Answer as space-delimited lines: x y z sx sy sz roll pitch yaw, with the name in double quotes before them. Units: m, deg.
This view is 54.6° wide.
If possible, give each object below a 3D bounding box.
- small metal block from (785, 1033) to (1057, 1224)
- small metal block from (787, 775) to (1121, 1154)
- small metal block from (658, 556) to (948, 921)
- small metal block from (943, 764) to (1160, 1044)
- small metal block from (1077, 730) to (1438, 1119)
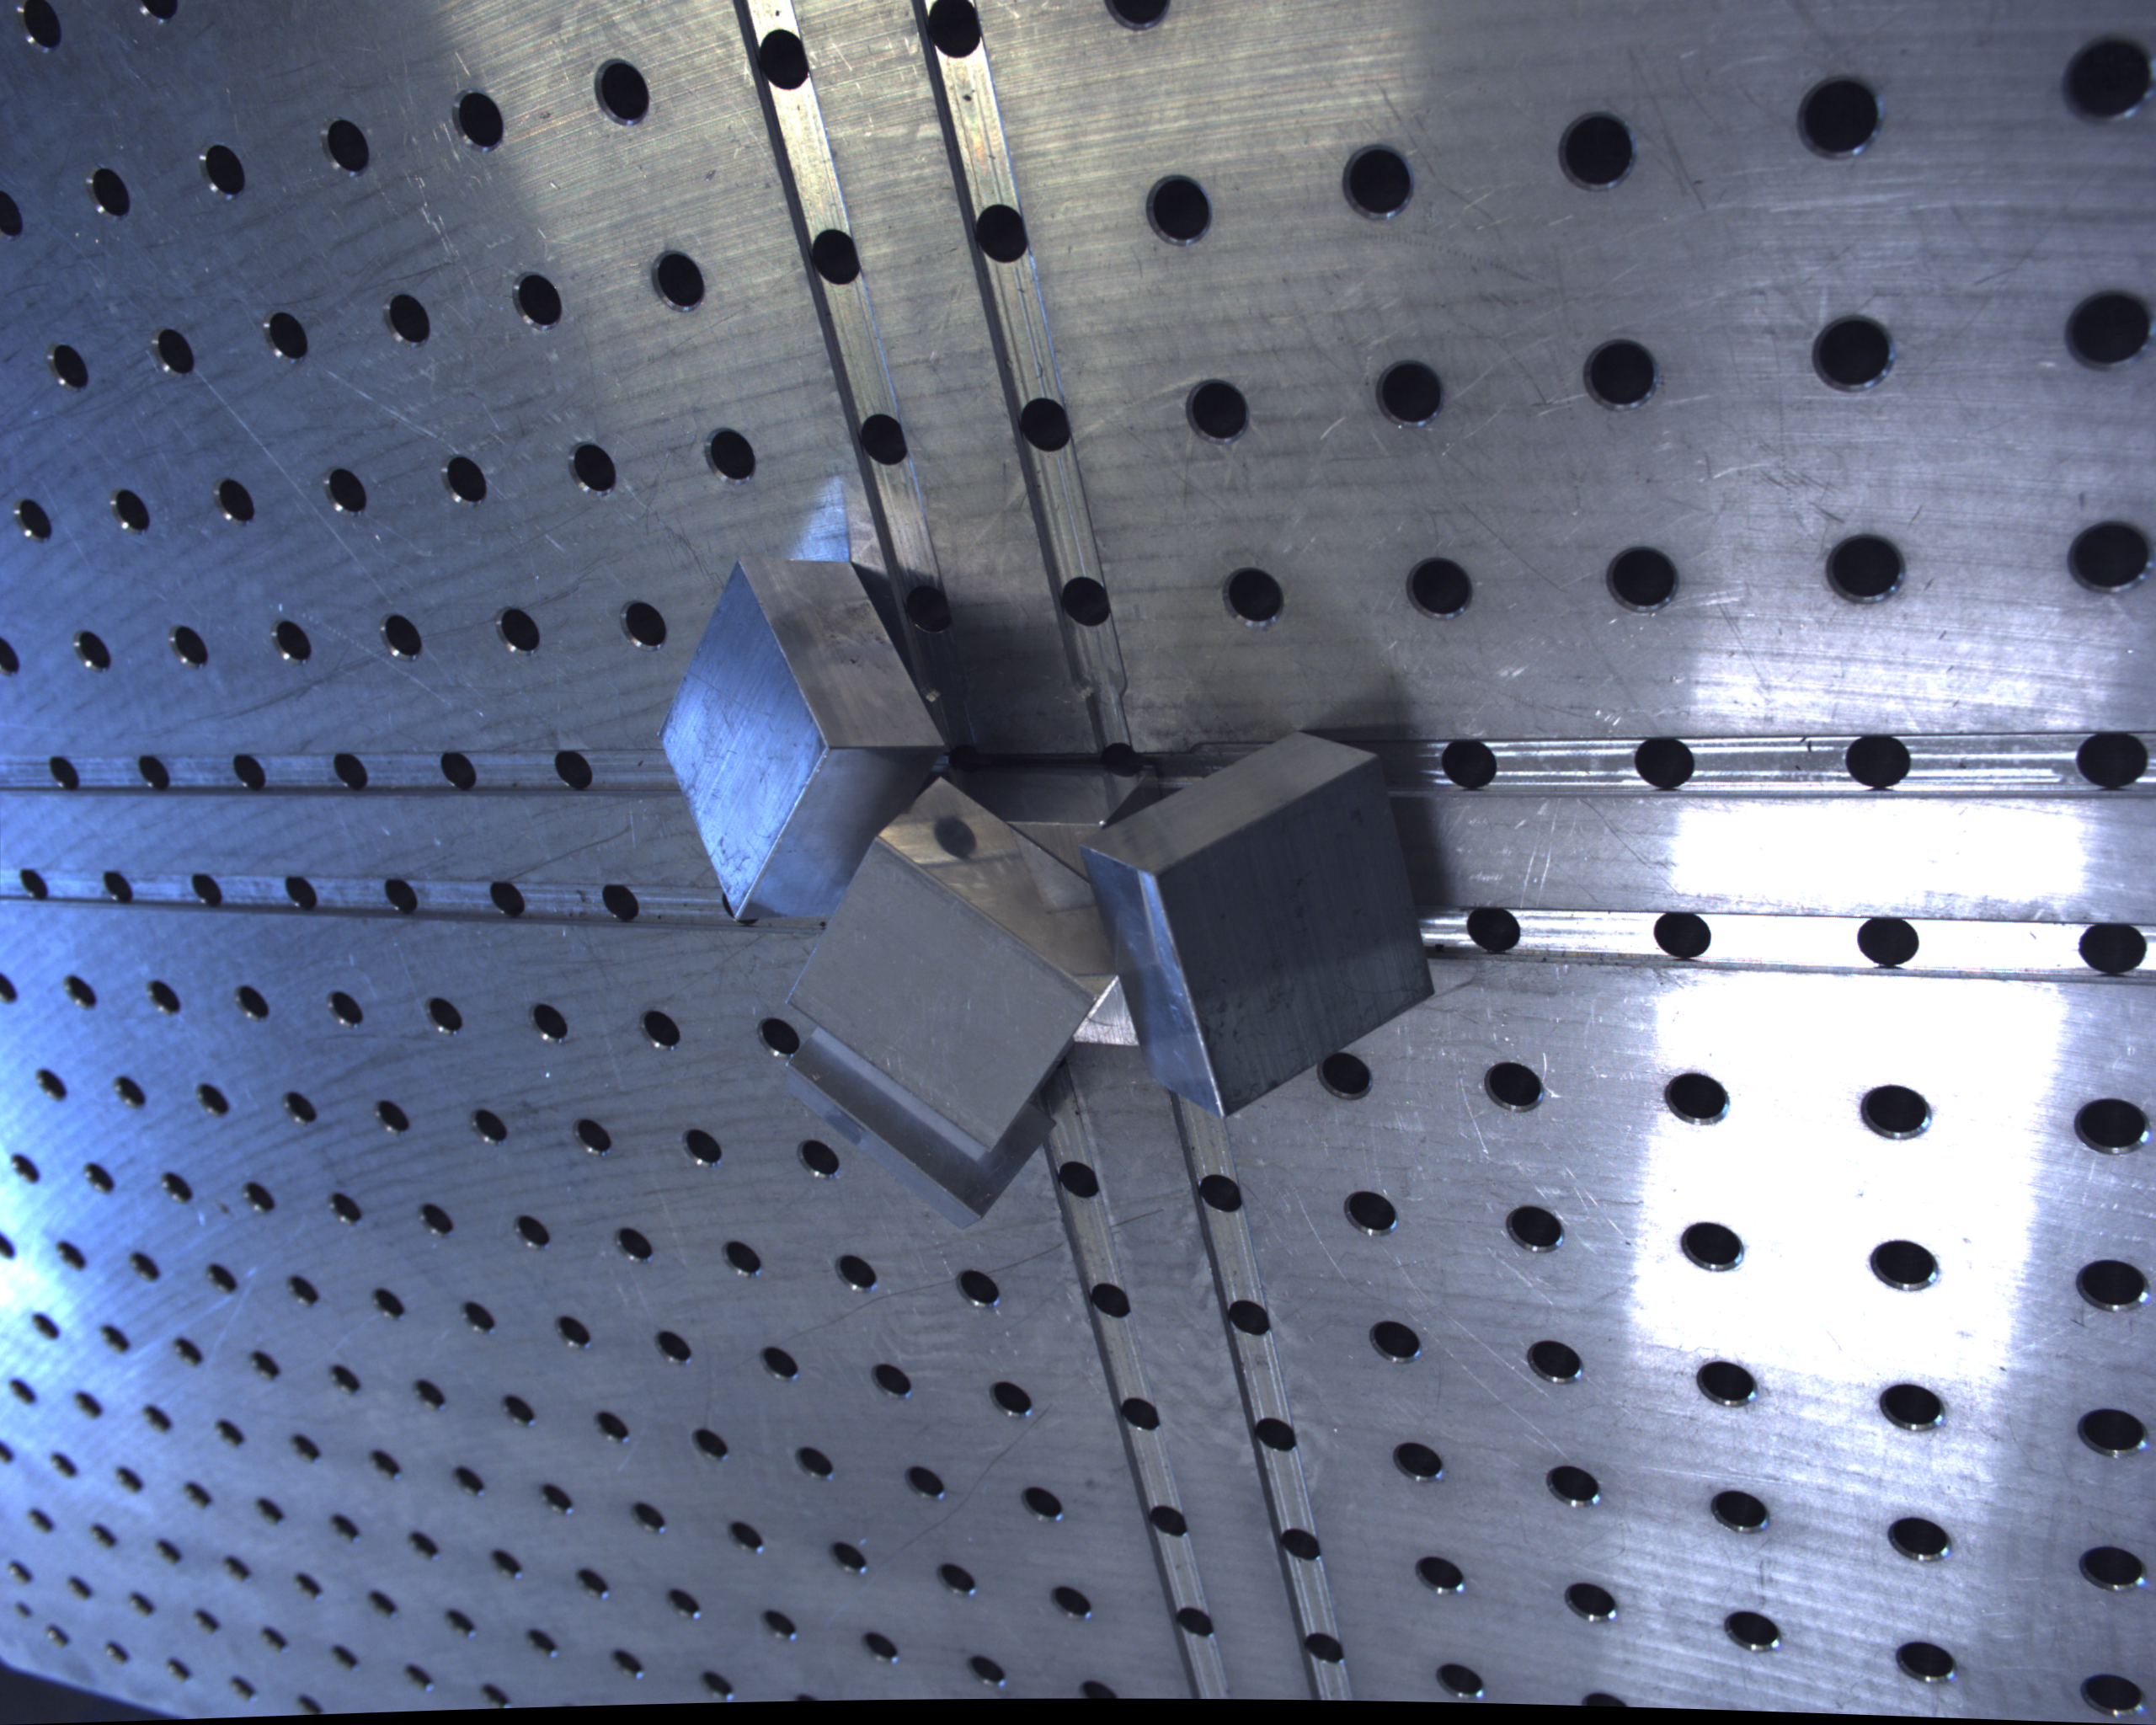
"small metal block" -0.034 0.052 0.446 0.050 0.025 0.050 38 166 2
"small metal block" -0.021 0.020 0.403 0.050 0.025 0.050 35 129 4
"small metal block" -0.055 -0.024 0.410 0.050 0.025 0.050 -55 50 39
"small metal block" -0.007 0.008 0.420 0.050 0.025 0.050 1 122 27
"small metal block" 0.034 0.010 0.381 0.025 0.050 0.050 24 136 56
